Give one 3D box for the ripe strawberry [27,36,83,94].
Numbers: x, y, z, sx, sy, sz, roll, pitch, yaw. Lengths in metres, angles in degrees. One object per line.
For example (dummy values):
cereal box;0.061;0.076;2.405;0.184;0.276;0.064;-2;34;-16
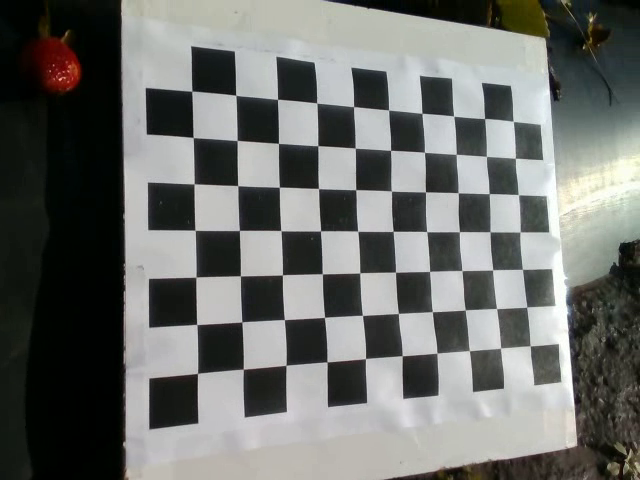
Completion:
ripe strawberry;-0.115;-0.070;0.303;0.034;0.033;0.038;-2;33;-27
